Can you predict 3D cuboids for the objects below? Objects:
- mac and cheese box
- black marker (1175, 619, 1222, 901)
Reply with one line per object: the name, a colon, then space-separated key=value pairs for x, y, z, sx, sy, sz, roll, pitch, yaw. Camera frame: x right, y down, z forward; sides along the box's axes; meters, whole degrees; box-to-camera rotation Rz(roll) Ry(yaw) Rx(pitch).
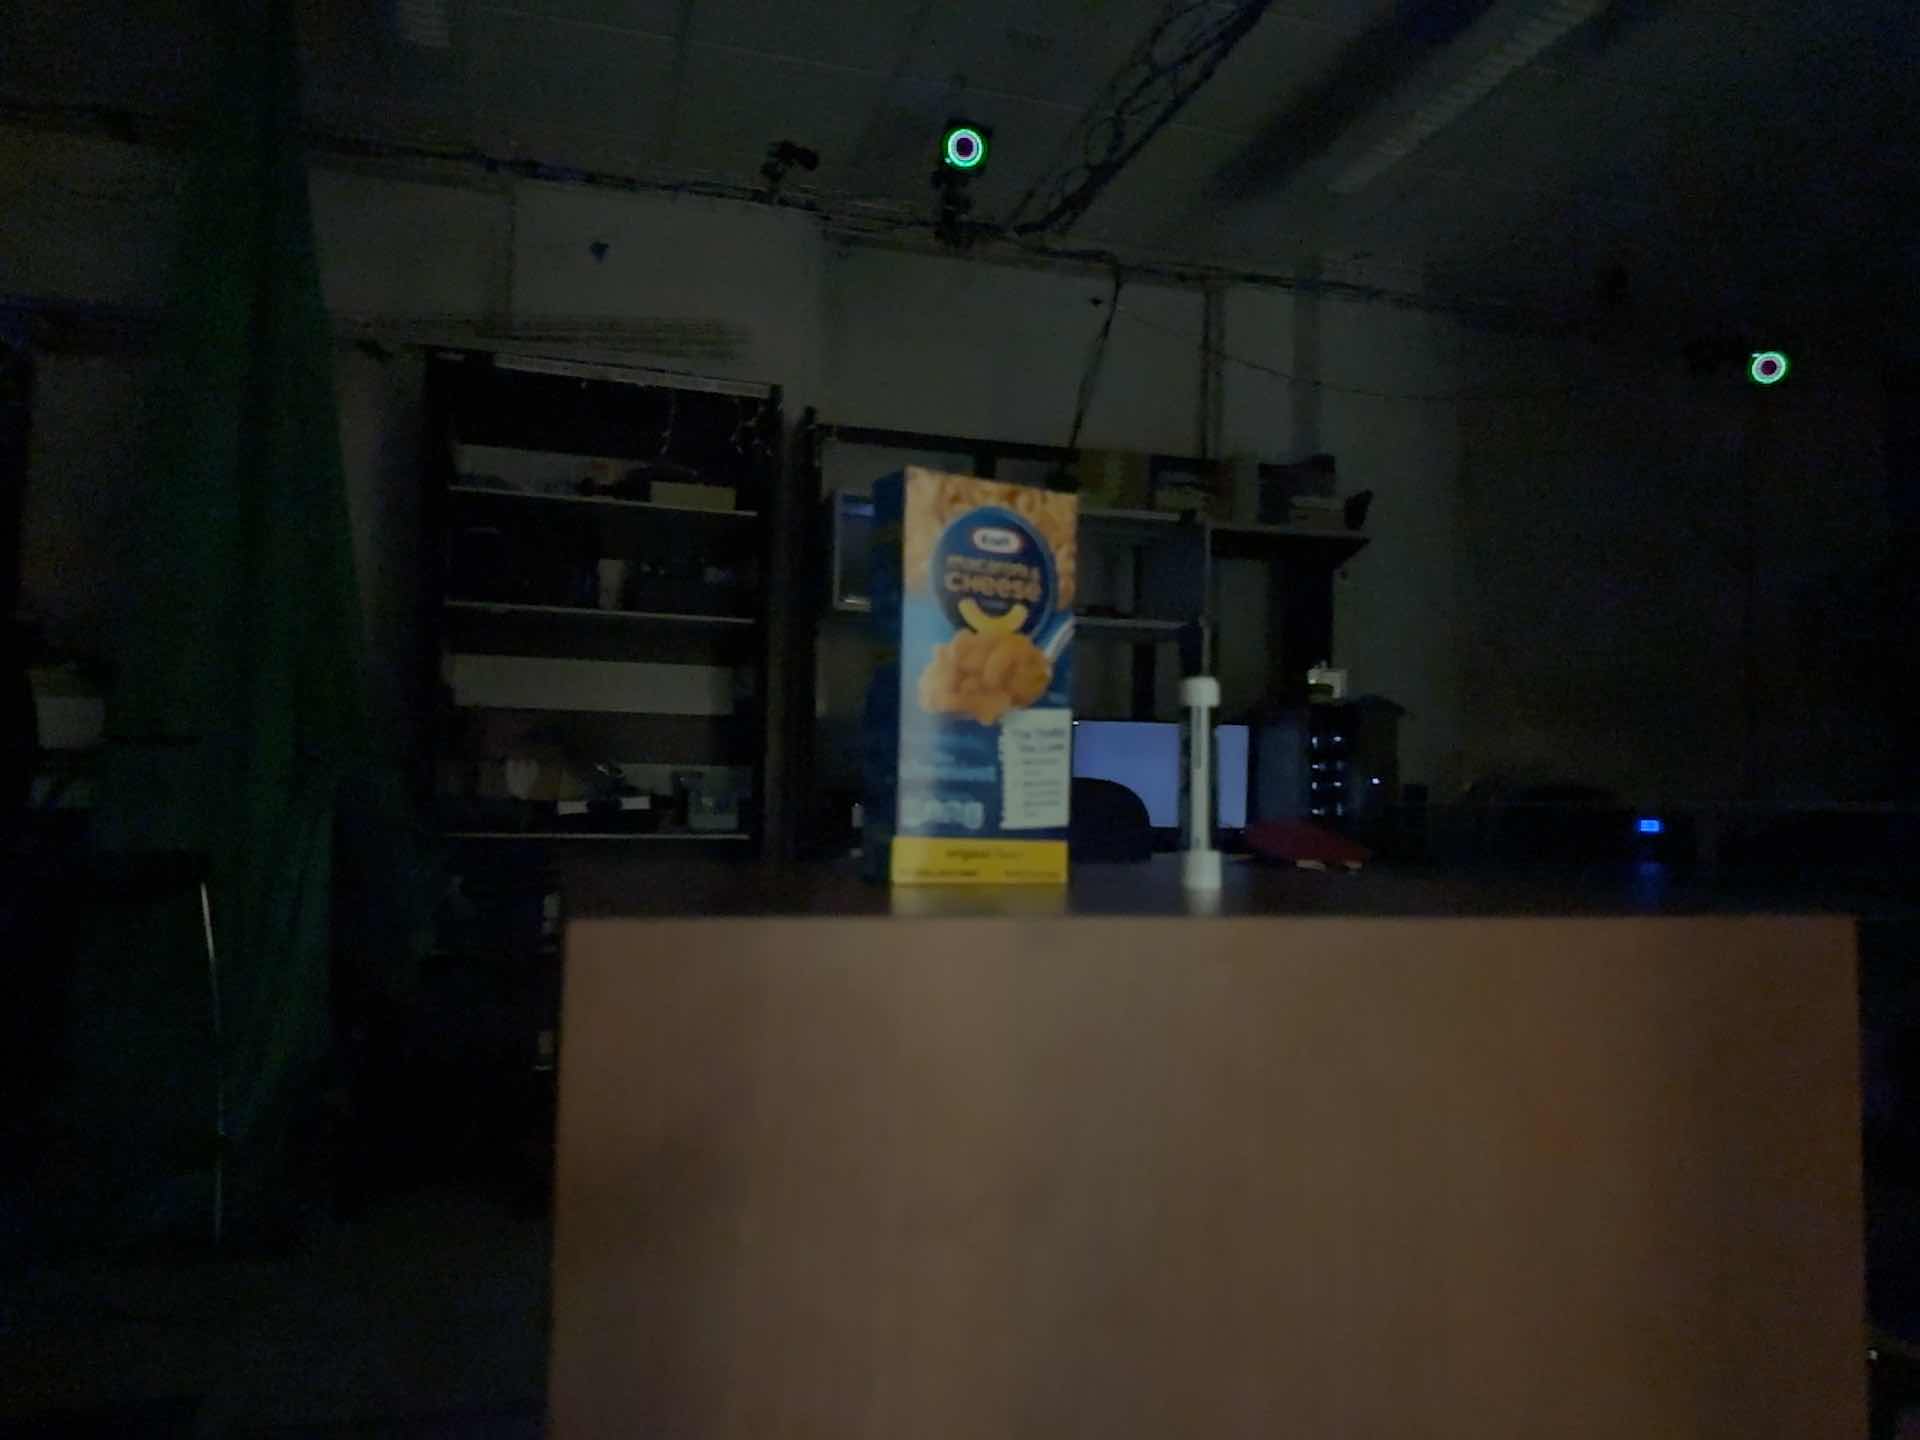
mac and cheese box: x=0.005 y=-0.018 z=0.607 sx=0.088 sy=0.181 sz=0.035 roll=3 pitch=-3 yaw=-23
black marker: x=0.103 y=0.017 z=0.582 sx=0.020 sy=0.121 sz=0.020 roll=1 pitch=-3 yaw=0
